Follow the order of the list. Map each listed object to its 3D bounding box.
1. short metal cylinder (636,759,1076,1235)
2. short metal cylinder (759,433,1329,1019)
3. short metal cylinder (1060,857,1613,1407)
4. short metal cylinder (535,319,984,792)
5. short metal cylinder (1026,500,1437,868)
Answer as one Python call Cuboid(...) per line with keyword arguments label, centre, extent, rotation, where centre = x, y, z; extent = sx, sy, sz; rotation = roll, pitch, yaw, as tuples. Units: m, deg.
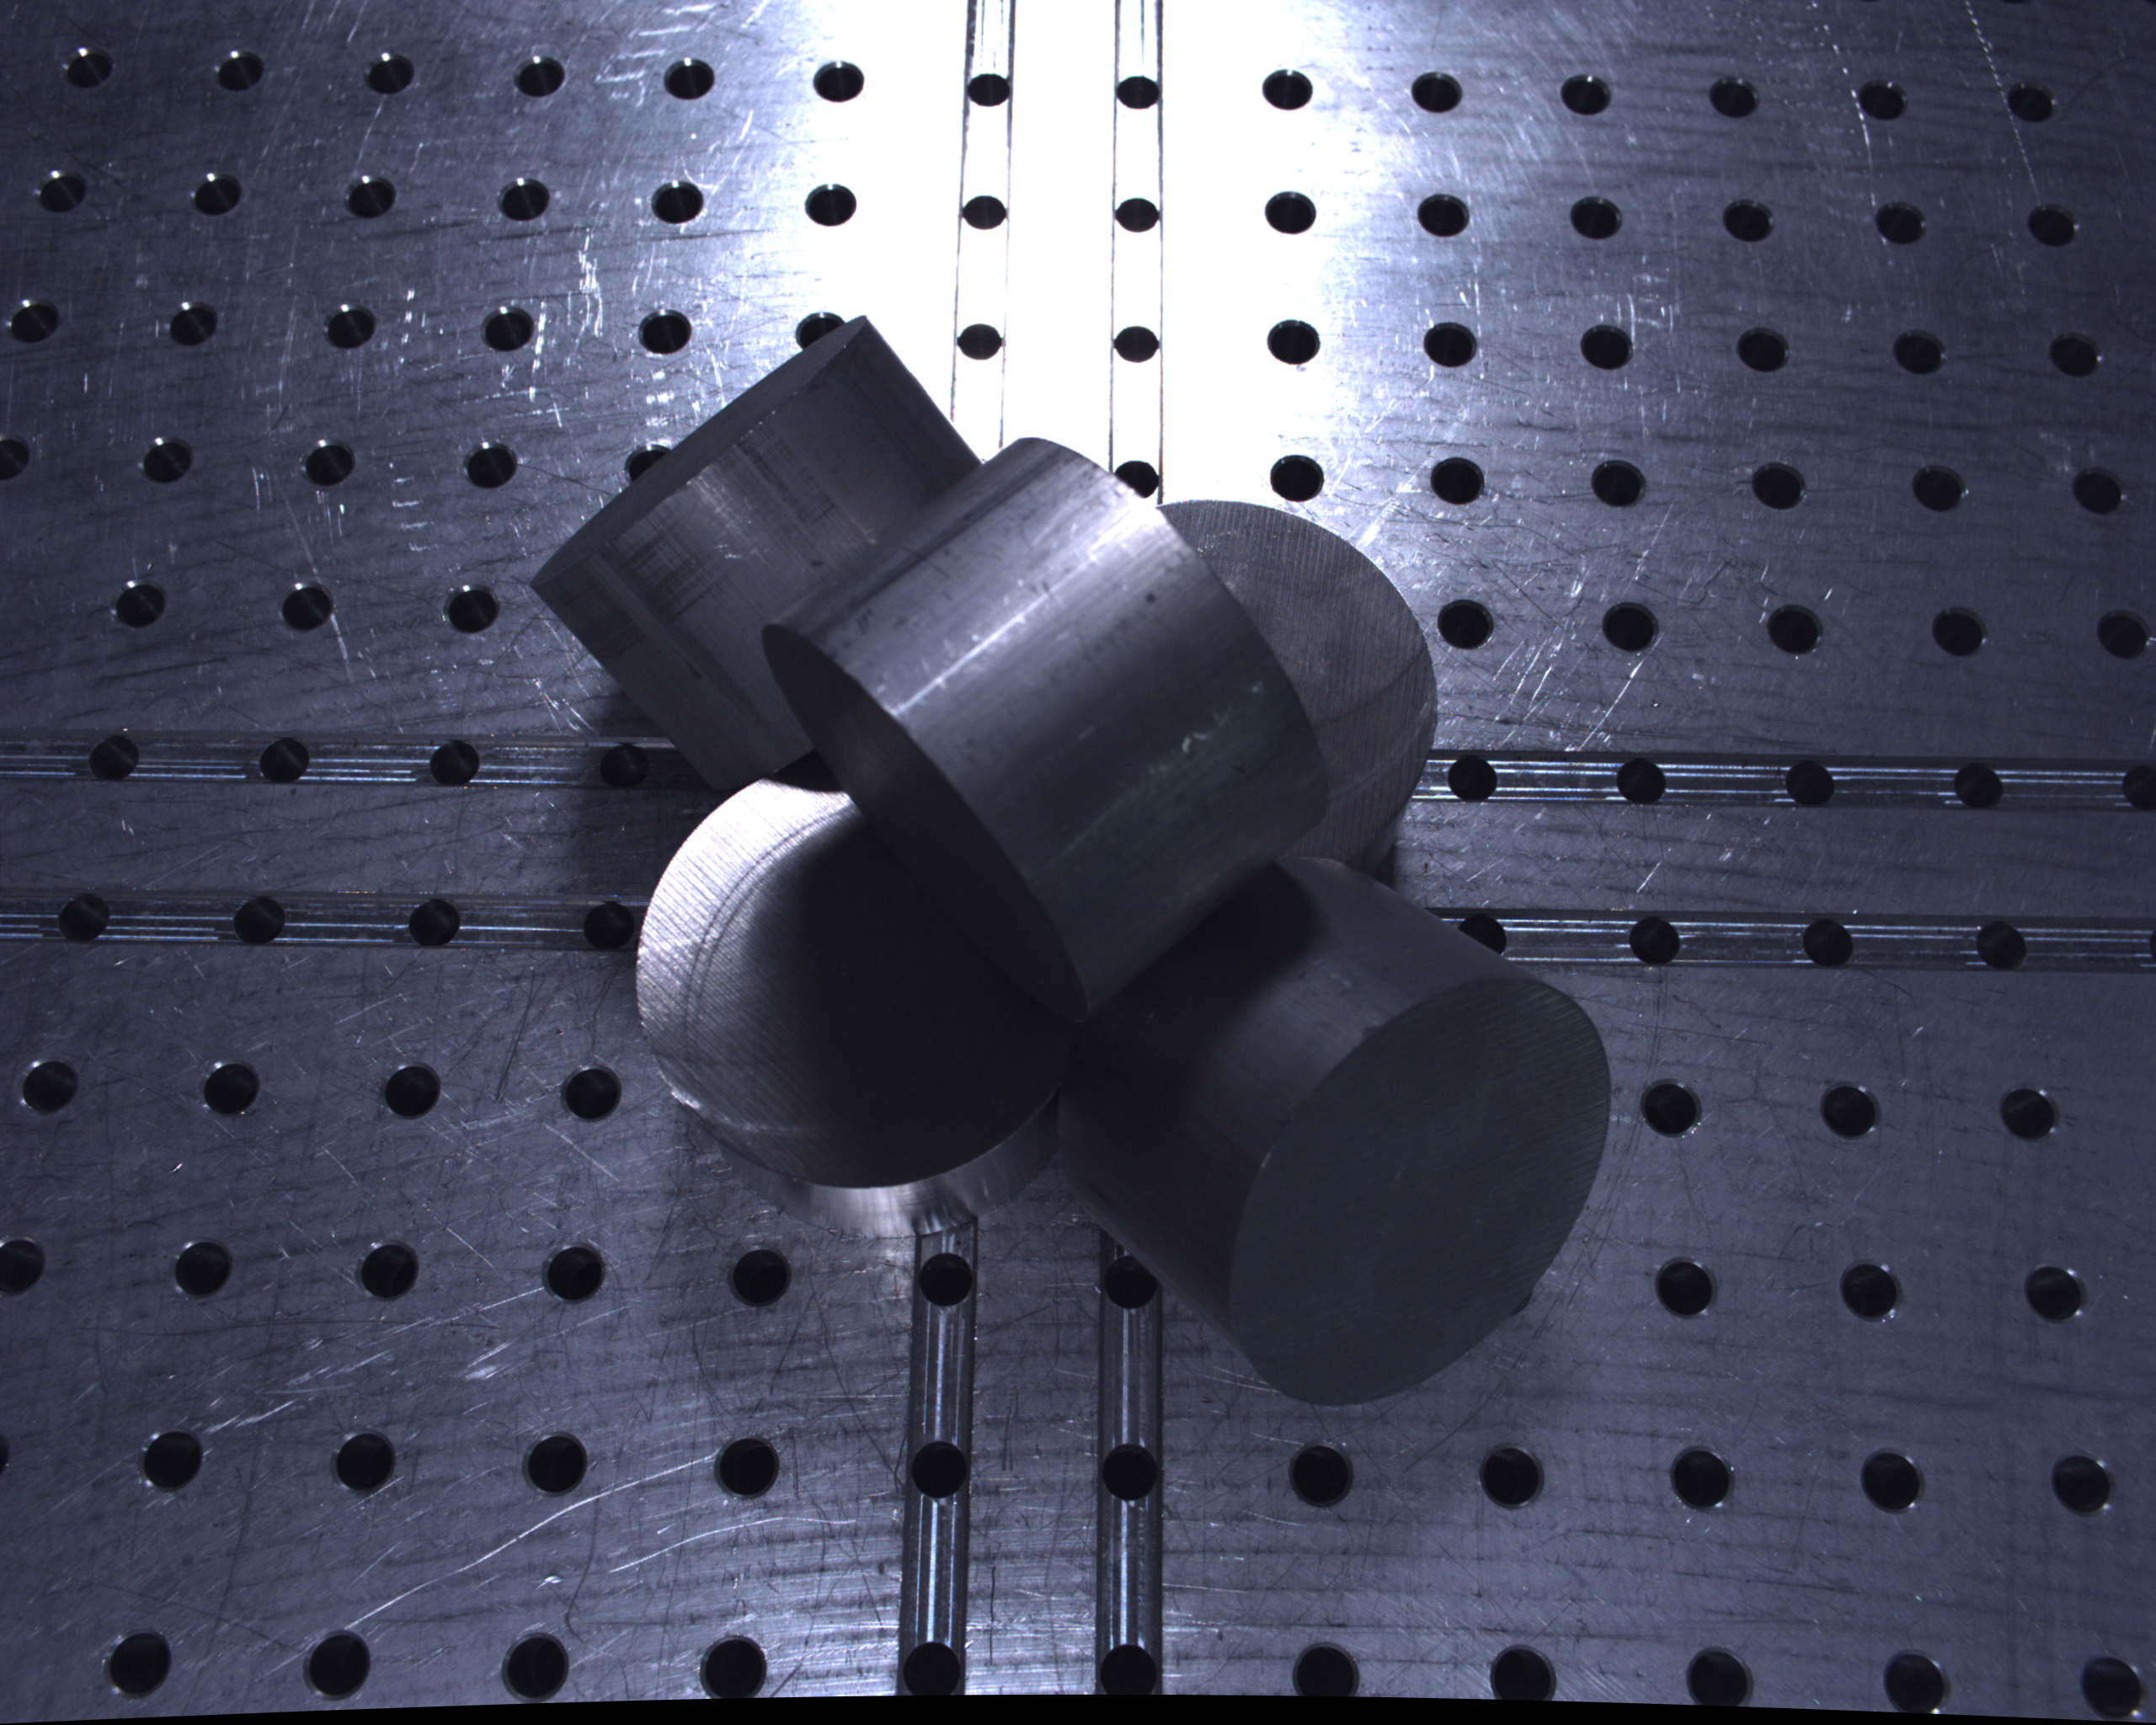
Cuboid(label="short metal cylinder", centre=(-0.037, 0.026, 0.388), extent=(0.081, 0.050, 0.080), rotation=(0, 70, 0))
Cuboid(label="short metal cylinder", centre=(-0.006, -0.021, 0.336), extent=(0.050, 0.080, 0.080), rotation=(-40, 75, -13))
Cuboid(label="short metal cylinder", centre=(0.044, 0.045, 0.359), extent=(0.080, 0.080, 0.050), rotation=(-39, 39, -13))
Cuboid(label="short metal cylinder", centre=(-0.055, -0.058, 0.396), extent=(0.080, 0.080, 0.050), rotation=(-44, 110, -15))
Cuboid(label="short metal cylinder", centre=(0.026, -0.023, 0.406), extent=(0.081, 0.050, 0.080), rotation=(0, 70, 0))
